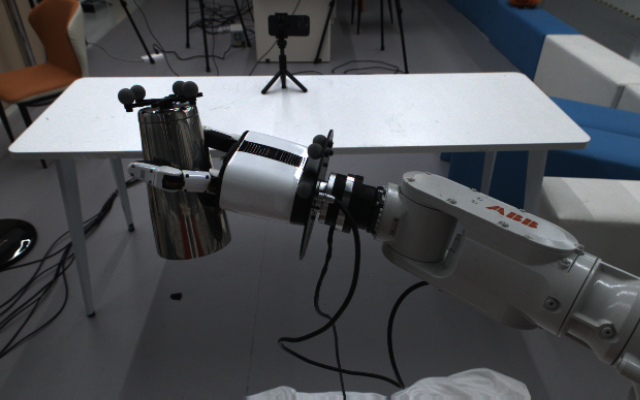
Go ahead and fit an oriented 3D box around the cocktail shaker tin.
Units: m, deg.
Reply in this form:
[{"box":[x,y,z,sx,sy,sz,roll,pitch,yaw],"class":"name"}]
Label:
[{"box":[-0.165,-0.024,0.577,0.093,0.170,0.093,-6,19,2],"class":"cocktail shaker tin"}]
